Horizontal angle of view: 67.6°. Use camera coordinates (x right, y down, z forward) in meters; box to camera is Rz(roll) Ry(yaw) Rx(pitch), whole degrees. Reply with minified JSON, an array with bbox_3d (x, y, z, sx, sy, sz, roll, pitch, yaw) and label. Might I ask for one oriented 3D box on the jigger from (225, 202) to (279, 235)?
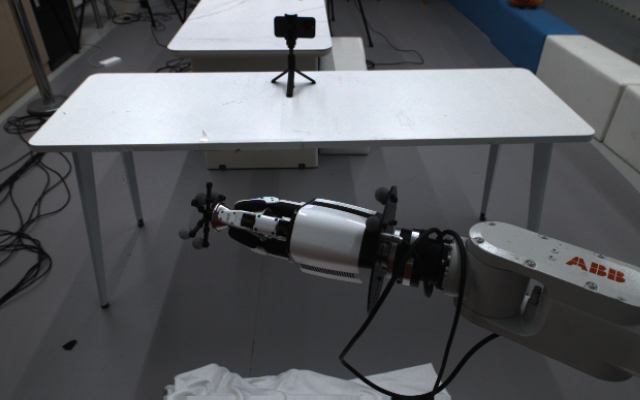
[{"bbox_3d":[-0.095,0.023,0.627,0.071,0.043,0.043,8,35,15],"label":"jigger"}]
